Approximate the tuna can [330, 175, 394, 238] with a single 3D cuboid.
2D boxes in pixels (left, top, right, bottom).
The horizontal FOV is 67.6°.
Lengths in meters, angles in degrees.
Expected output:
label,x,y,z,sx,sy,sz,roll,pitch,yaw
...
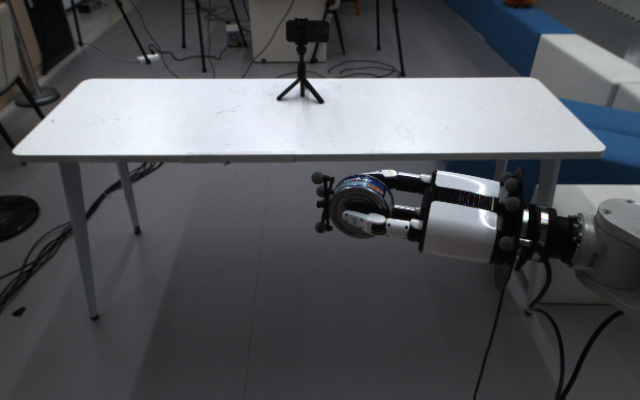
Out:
label,x,y,z,sx,sy,sz,roll,pitch,yaw
tuna can,0.058,0.011,0.654,0.085,0.085,0.034,9,32,10
